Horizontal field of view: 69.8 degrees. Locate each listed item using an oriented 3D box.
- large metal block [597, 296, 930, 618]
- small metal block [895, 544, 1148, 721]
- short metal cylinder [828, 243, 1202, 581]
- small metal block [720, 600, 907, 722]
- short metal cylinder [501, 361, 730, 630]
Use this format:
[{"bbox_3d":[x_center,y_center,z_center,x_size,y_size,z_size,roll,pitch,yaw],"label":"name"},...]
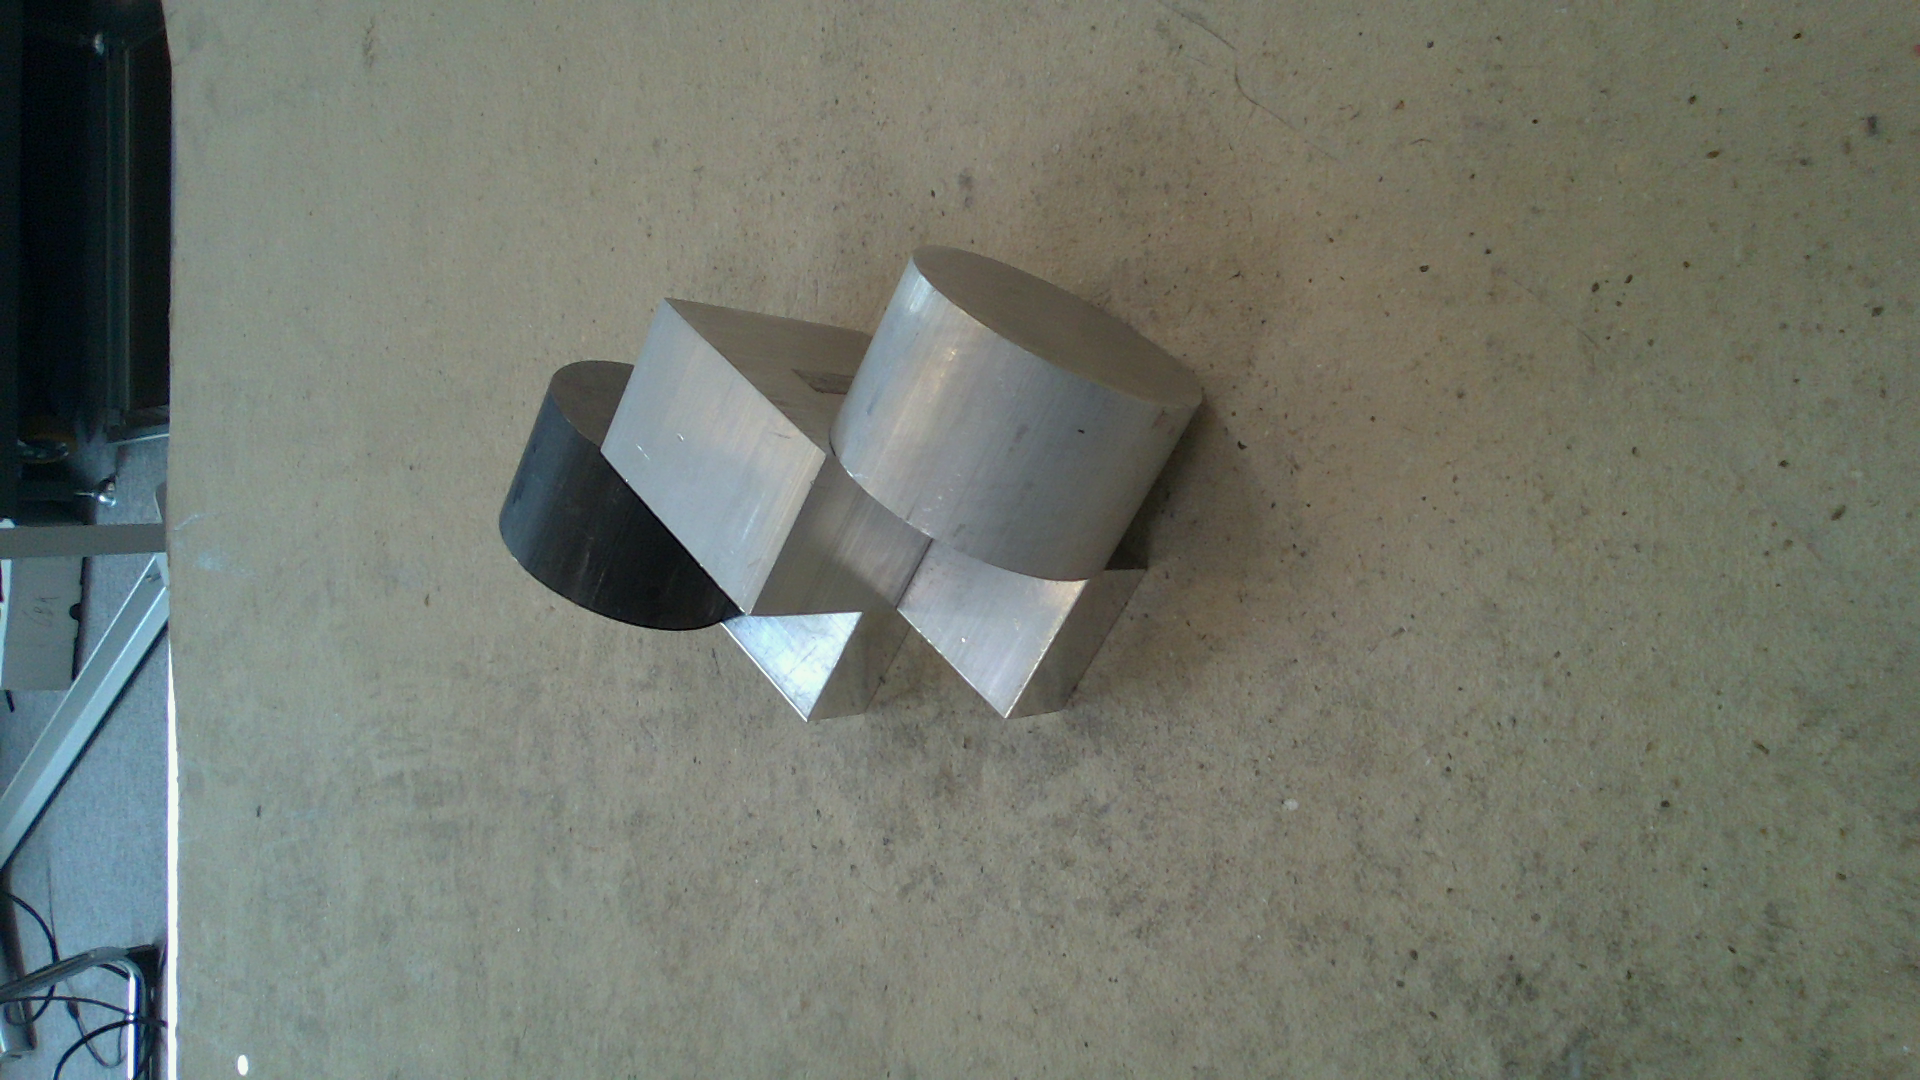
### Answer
[{"bbox_3d":[-0.042,-0.023,0.396,0.080,0.080,0.050,42,116,32],"label":"large metal block"},{"bbox_3d":[0.016,0.014,0.382,0.050,0.025,0.050,43,116,32],"label":"small metal block"},{"bbox_3d":[0.013,-0.033,0.348,0.080,0.080,0.050,43,116,32],"label":"short metal cylinder"},{"bbox_3d":[-0.043,0.021,0.433,0.050,0.025,0.050,43,116,32],"label":"small metal block"},{"bbox_3d":[-0.100,-0.015,0.443,0.080,0.080,0.050,43,116,32],"label":"short metal cylinder"}]
